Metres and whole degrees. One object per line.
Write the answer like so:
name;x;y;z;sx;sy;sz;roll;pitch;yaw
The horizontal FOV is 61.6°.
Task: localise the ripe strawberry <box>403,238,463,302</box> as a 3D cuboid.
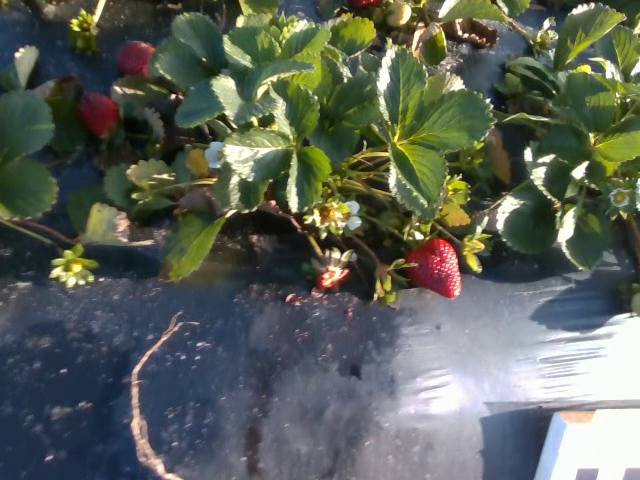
ripe strawberry;0.096;0.029;0.429;0.052;0.052;0.041;-25;-39;-2
